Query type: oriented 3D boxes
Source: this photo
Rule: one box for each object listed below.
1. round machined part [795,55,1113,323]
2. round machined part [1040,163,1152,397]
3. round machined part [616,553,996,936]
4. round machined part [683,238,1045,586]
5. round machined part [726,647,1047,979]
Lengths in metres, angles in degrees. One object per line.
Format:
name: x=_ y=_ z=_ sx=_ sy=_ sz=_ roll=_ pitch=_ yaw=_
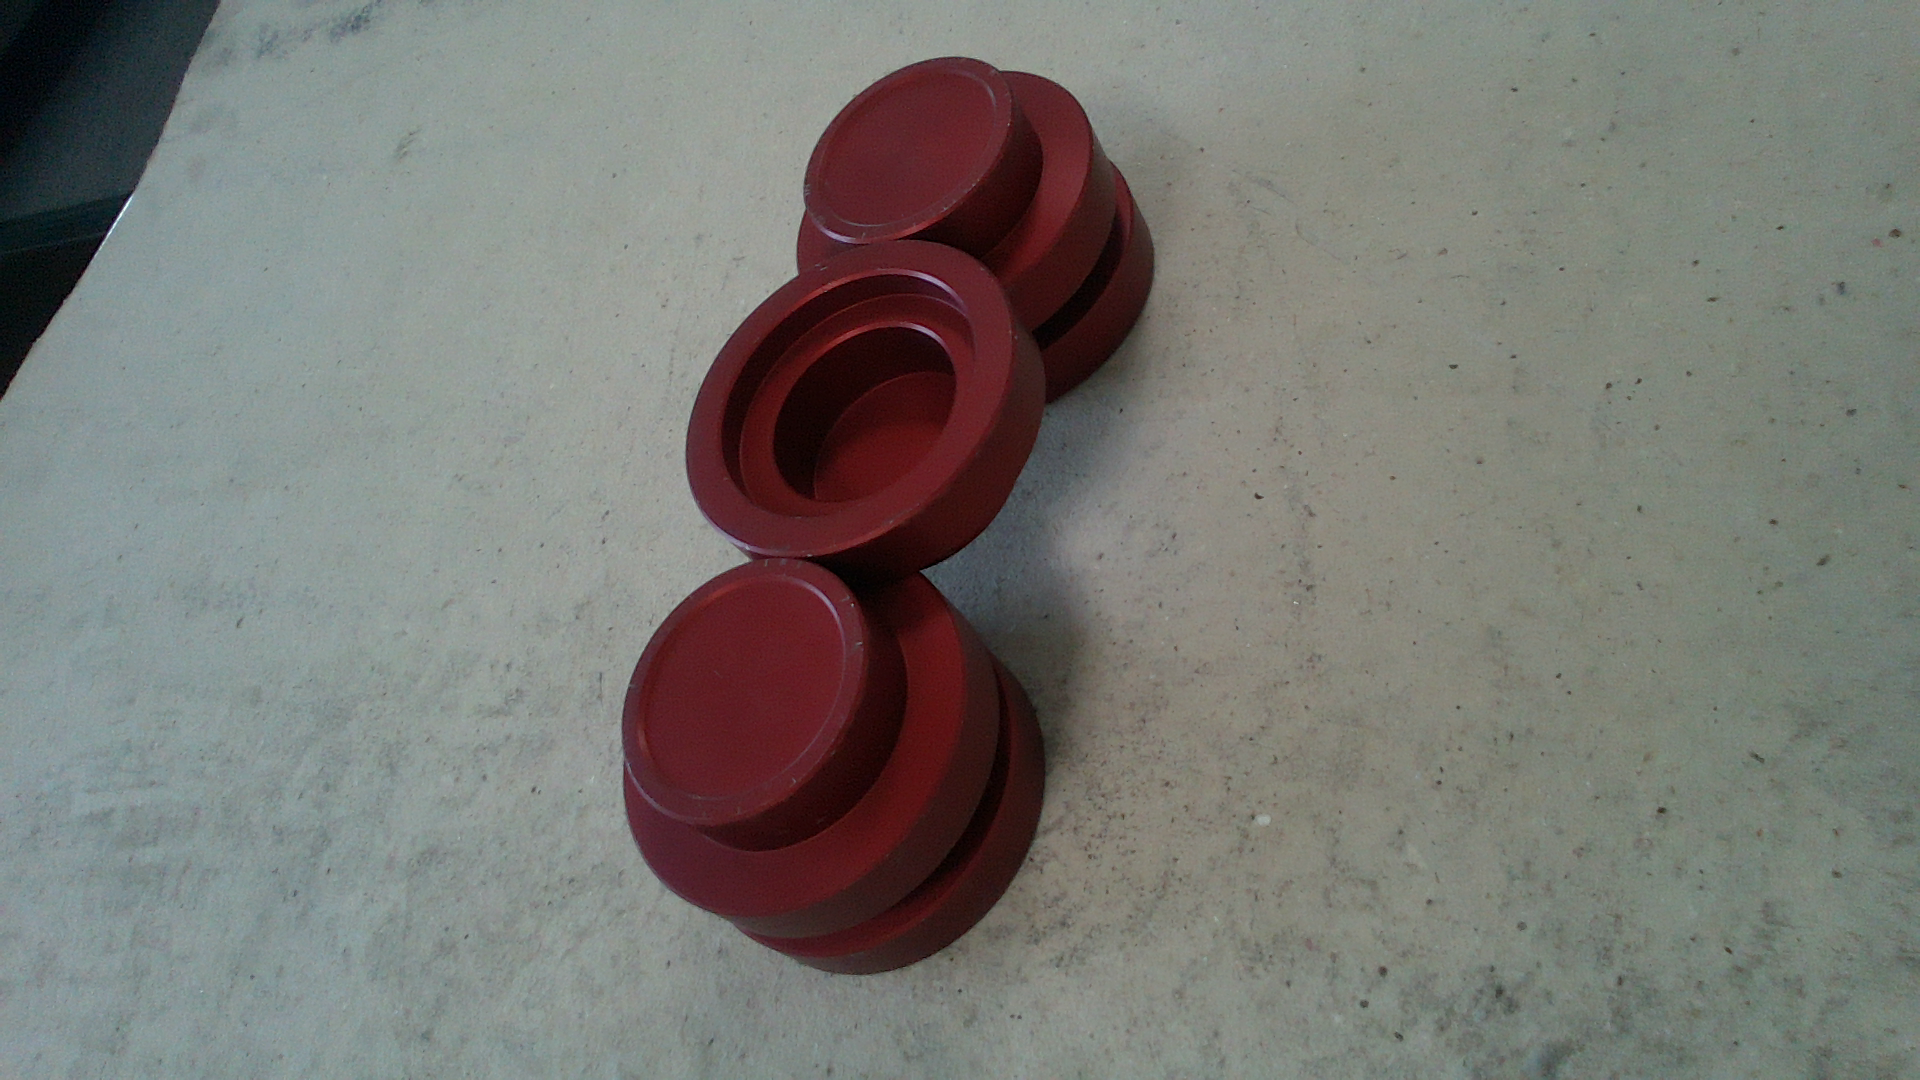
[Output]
round machined part: x=-0.008 y=-0.103 z=0.409 sx=0.098 sy=0.042 sz=0.098 roll=-14 pitch=56 yaw=22
round machined part: x=0.007 y=-0.090 z=0.434 sx=0.098 sy=0.042 sz=0.098 roll=-15 pitch=55 yaw=22
round machined part: x=-0.044 y=0.043 z=0.337 sx=0.098 sy=0.042 sz=0.098 roll=-14 pitch=56 yaw=22
round machined part: x=-0.022 y=-0.030 z=0.372 sx=0.098 sy=0.042 sz=0.098 roll=-13 pitch=56 yaw=21
round machined part: x=-0.030 y=0.061 z=0.363 sx=0.098 sy=0.042 sz=0.098 roll=-14 pitch=54 yaw=21
